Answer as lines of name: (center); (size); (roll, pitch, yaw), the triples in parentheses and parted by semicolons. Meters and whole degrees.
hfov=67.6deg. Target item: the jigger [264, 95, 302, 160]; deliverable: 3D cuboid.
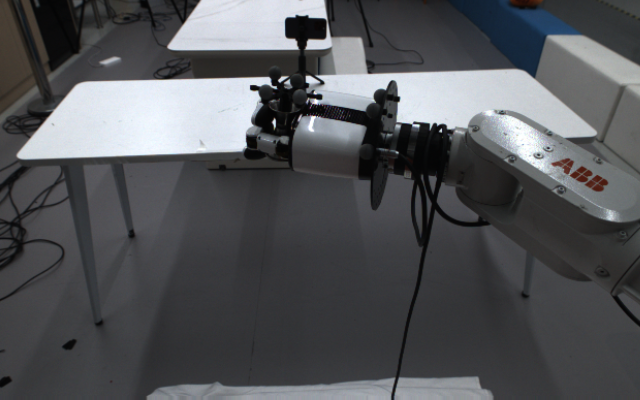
jigger: (-0.049, -0.089, 0.622); (0.043, 0.071, 0.043); (6, 32, -4)
